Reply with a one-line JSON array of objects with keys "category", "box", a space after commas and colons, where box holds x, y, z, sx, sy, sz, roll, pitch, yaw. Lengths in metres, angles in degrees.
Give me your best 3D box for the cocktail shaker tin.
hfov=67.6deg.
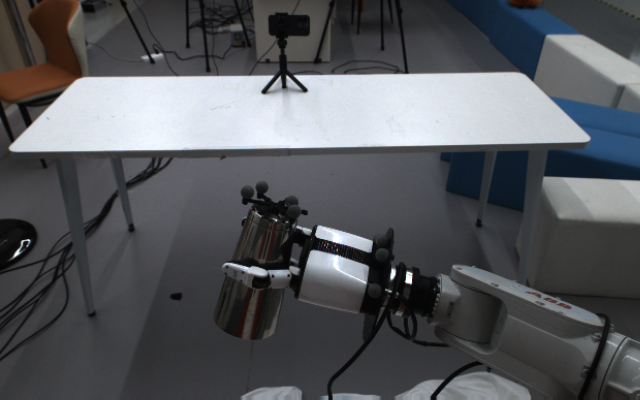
[{"category": "cocktail shaker tin", "box": [-0.084, 0.093, 0.665, 0.093, 0.170, 0.093, 15, 17, -5]}]
